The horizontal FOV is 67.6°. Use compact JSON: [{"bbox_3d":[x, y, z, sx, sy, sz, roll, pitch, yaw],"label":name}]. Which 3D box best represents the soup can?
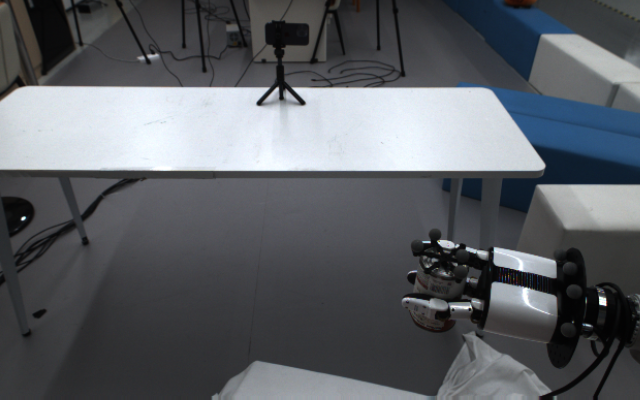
[{"bbox_3d":[0.168,0.125,0.678,0.067,0.101,0.067,2,32,-1],"label":"soup can"}]
